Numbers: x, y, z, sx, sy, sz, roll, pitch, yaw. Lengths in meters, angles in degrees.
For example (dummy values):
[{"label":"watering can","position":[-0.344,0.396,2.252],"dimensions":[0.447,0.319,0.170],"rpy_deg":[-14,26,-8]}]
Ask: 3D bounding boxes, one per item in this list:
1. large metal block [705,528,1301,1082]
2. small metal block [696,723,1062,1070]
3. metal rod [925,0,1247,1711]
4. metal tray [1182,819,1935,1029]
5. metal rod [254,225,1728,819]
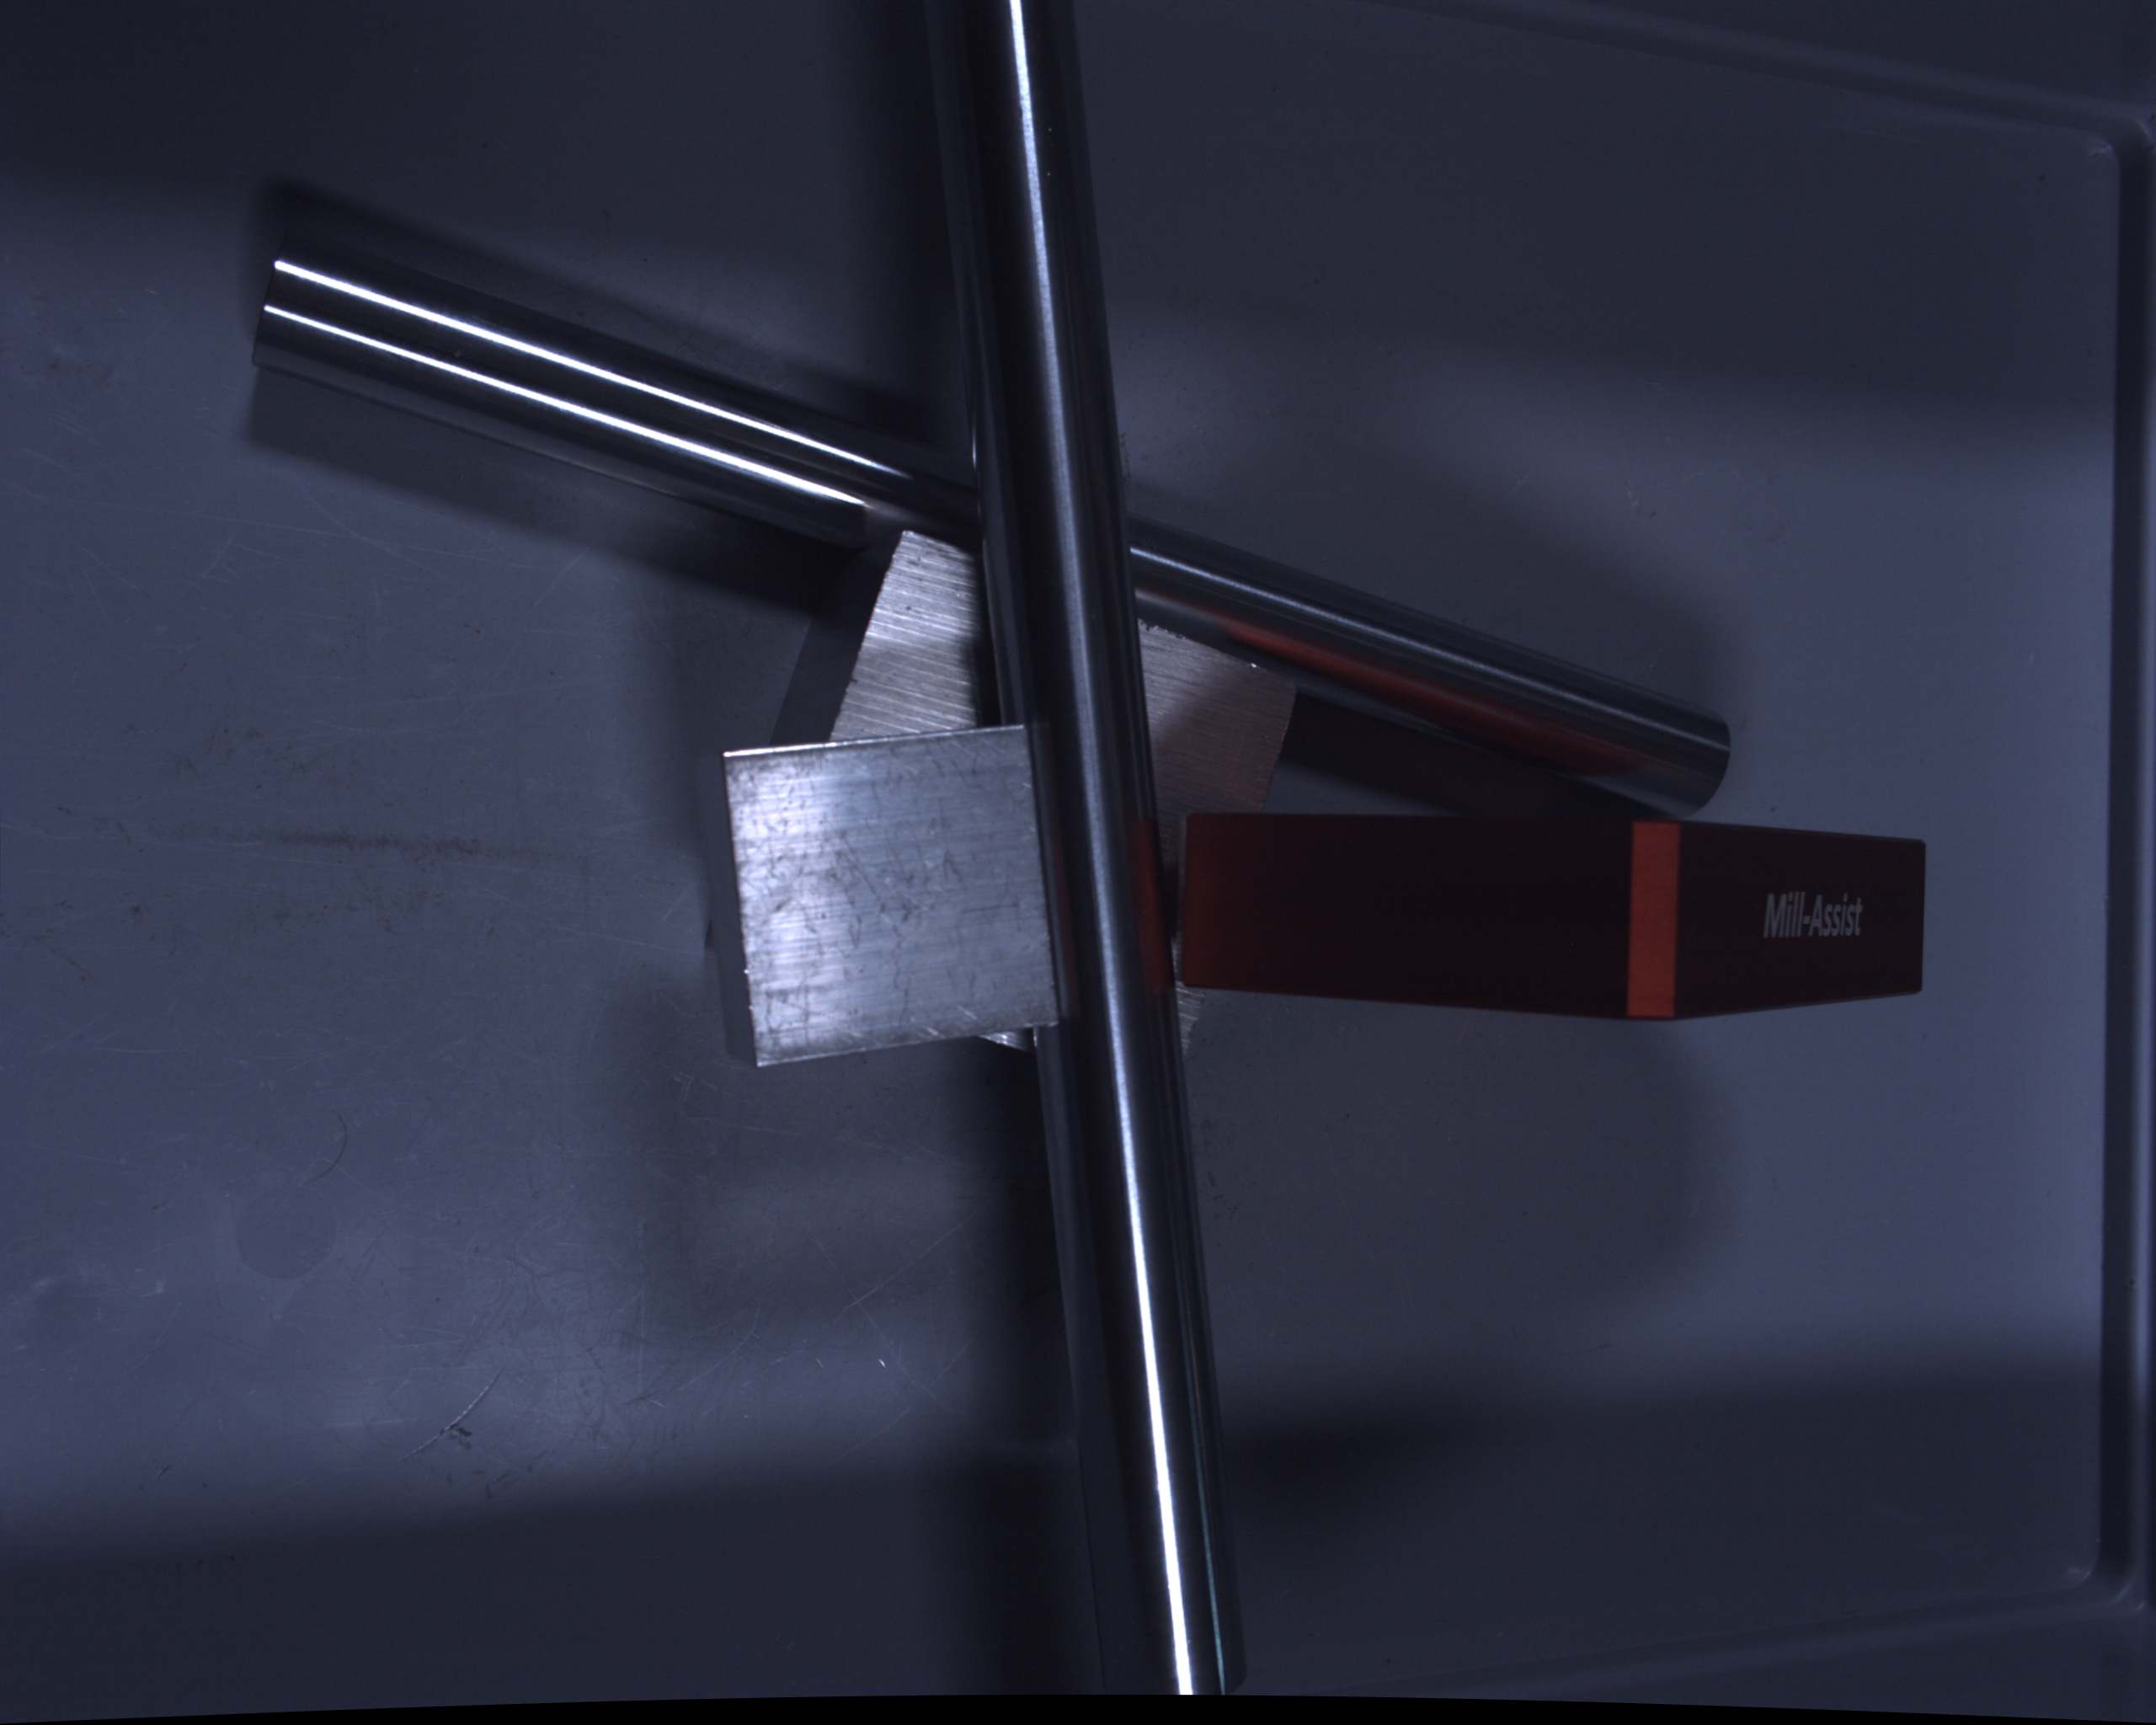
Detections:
[{"label":"large metal block","position":[-0.015,-0.008,0.391],"dimensions":[0.081,0.050,0.080],"rpy_deg":[19,84,-20]},{"label":"small metal block","position":[-0.033,0.005,0.344],"dimensions":[0.050,0.025,0.050],"rpy_deg":[-7,92,-21]},{"label":"metal rod","position":[0.001,-0.006,0.357],"dimensions":[0.025,0.025,0.298],"rpy_deg":[-7,93,-20]},{"label":"metal tray","position":[0.091,0.009,0.381],"dimensions":[0.131,0.090,0.030],"rpy_deg":[1,91,-52]},{"label":"metal rod","position":[-0.001,-0.060,0.410],"dimensions":[0.302,0.025,0.025],"rpy_deg":[15,85,-20]}]
